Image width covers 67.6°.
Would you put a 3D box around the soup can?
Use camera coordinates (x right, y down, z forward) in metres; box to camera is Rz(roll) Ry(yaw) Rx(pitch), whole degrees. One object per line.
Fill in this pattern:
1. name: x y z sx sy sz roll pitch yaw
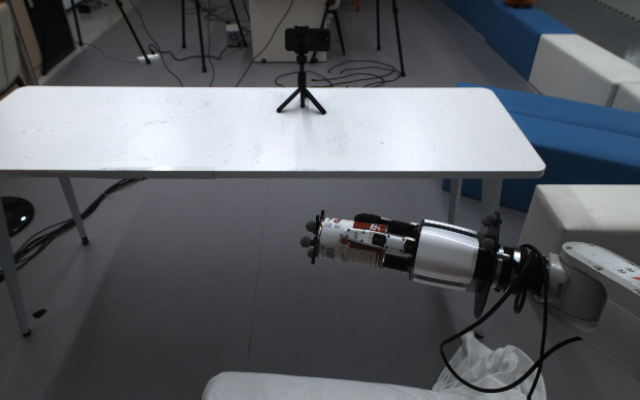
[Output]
1. soup can: 0.053 0.065 0.749 0.101 0.067 0.067 7 35 10
